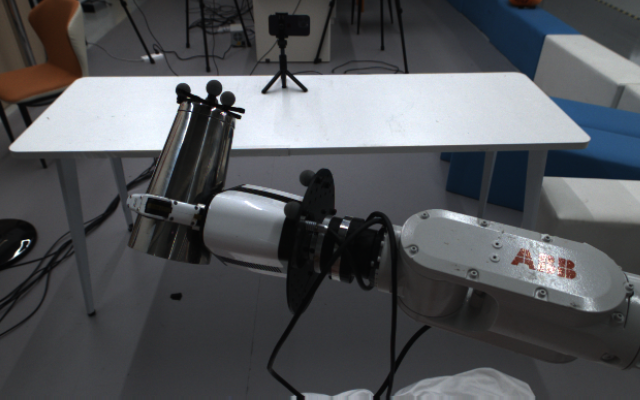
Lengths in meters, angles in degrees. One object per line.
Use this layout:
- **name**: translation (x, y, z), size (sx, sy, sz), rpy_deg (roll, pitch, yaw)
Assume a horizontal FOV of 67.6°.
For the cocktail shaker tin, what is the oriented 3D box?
- **cocktail shaker tin**: translation (-0.150, -0.020, 0.554), size (0.093, 0.170, 0.093), rpy_deg (14, -4, 1)
